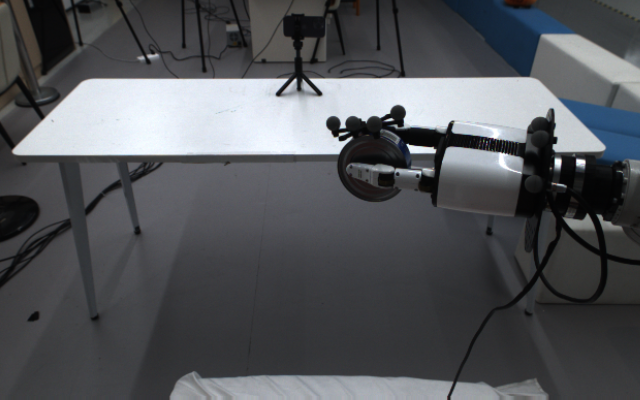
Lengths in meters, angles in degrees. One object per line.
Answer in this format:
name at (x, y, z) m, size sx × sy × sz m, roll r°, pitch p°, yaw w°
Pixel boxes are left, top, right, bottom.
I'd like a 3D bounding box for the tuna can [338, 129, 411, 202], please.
tuna can at (0.068, -0.044, 0.589) m, size 0.085 × 0.085 × 0.034 m, roll 13°, pitch 29°, yaw 15°
